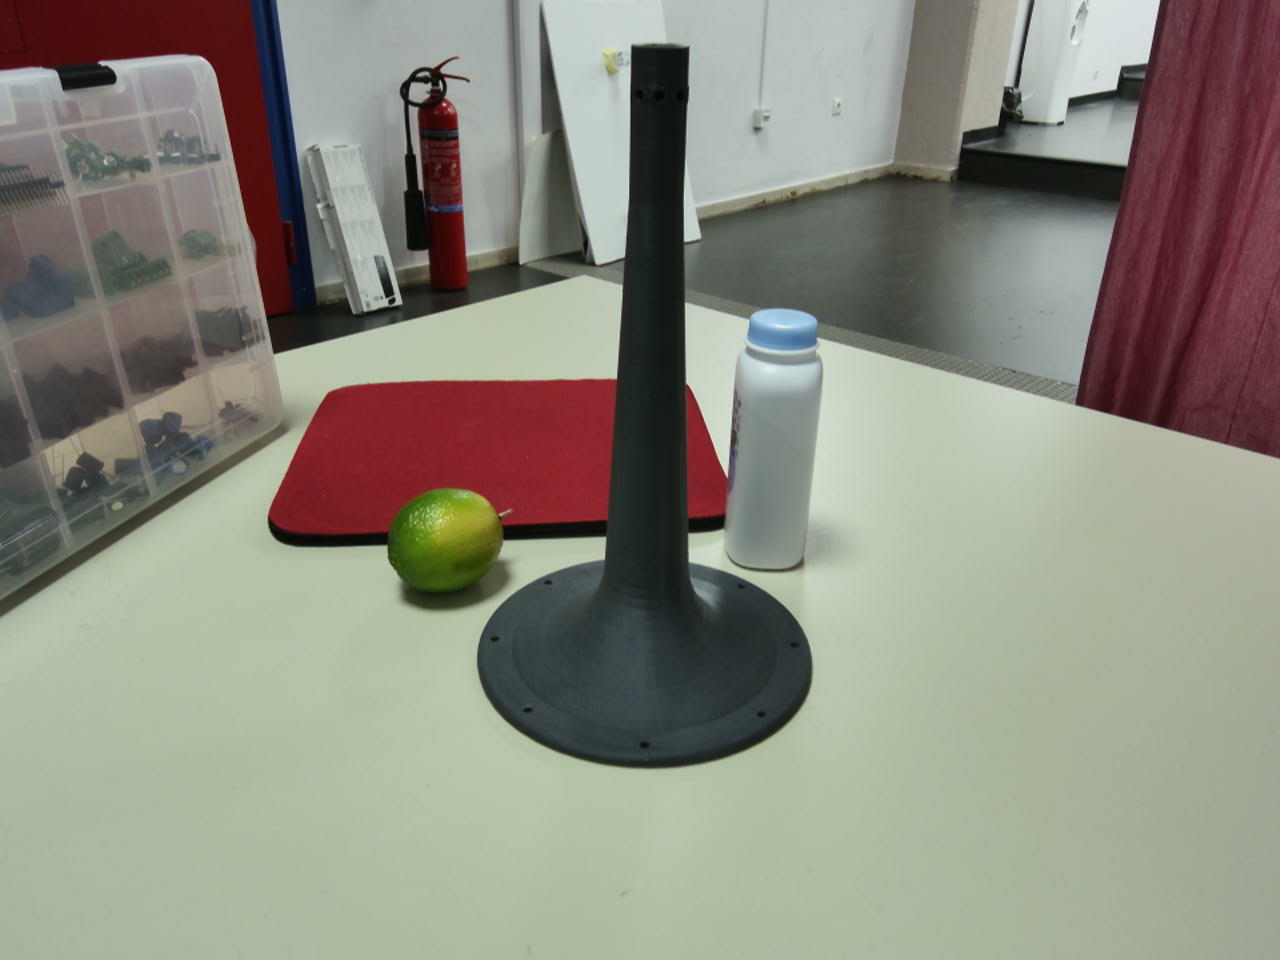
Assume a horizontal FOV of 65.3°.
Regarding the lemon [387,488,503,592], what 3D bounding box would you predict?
[{"bbox_3d":[-0.096,0.029,0.493,0.055,0.050,0.054,2,24,1],"label":"lemon"}]
